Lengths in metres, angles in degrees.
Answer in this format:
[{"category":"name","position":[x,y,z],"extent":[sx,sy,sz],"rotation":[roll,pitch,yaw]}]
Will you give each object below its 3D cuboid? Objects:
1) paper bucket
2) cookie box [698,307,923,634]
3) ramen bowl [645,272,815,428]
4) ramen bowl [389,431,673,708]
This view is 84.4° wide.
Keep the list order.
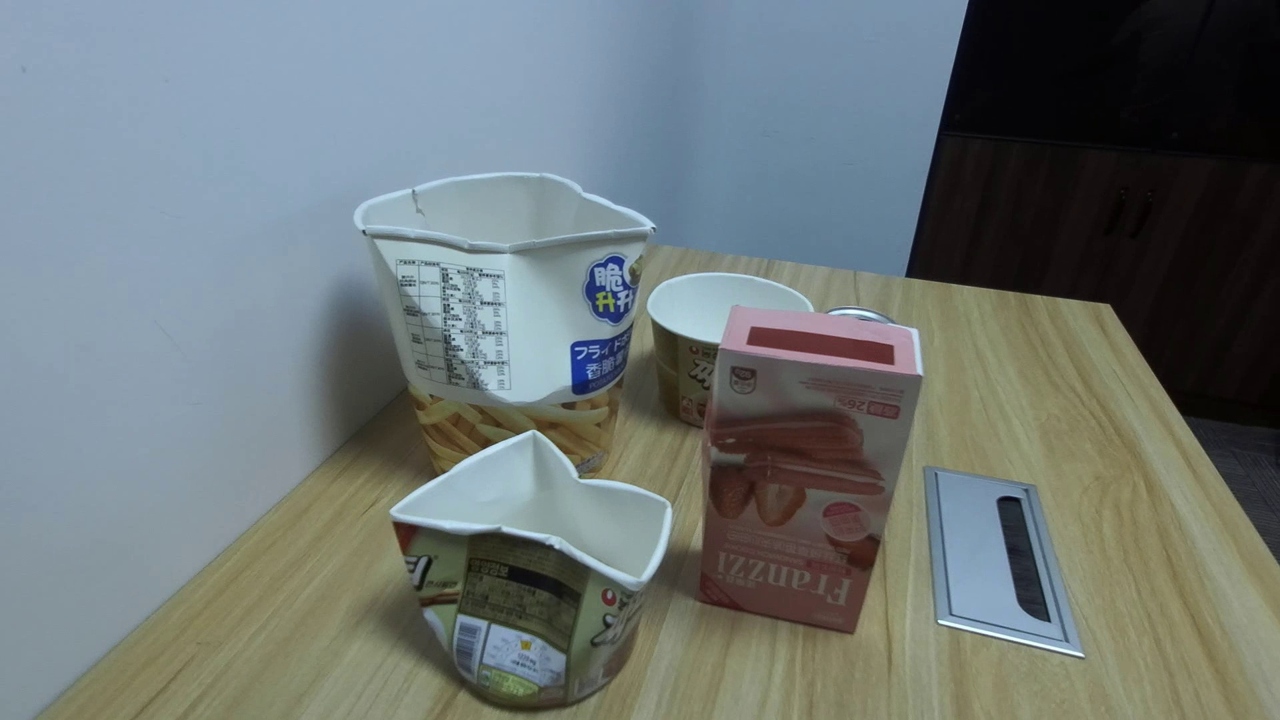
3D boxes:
[{"category":"paper bucket","position":[-0.100,-0.016,0.519],"extent":[0.163,0.202,0.168],"rotation":[-19,33,-29]},{"category":"cookie box","position":[0.084,0.064,0.393],"extent":[0.105,0.187,0.049],"rotation":[9,33,12]},{"category":"ramen bowl","position":[0.075,-0.005,0.596],"extent":[0.140,0.095,0.140],"rotation":[1,30,0]},{"category":"ramen bowl","position":[-0.050,0.118,0.389],"extent":[0.128,0.093,0.112],"rotation":[23,36,30]}]
